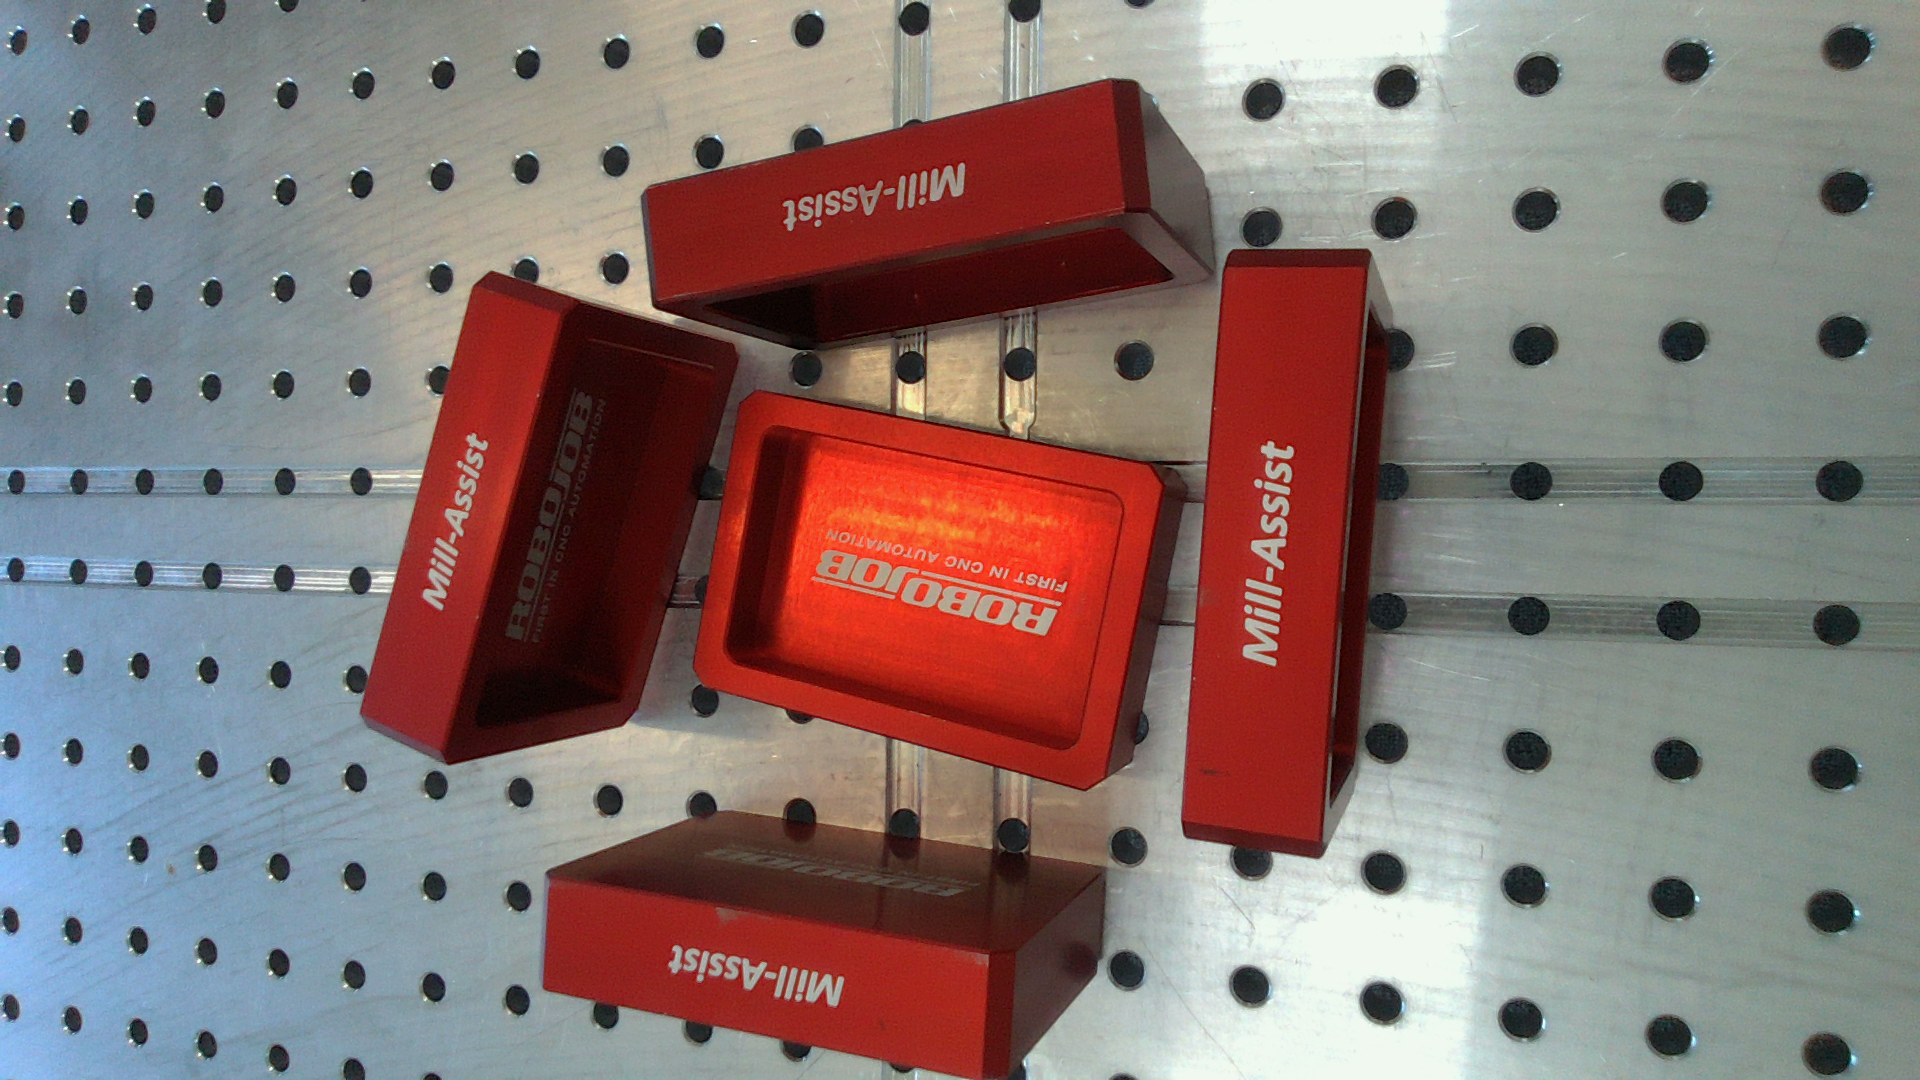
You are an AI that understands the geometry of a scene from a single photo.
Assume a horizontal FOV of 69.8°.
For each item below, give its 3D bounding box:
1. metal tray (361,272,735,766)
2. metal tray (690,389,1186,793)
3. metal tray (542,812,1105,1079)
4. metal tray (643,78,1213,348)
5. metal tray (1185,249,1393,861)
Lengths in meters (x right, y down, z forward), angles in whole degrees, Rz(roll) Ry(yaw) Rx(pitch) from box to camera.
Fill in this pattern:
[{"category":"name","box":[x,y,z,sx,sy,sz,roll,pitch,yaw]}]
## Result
[{"category":"metal tray","box":[-0.117,-0.005,0.406,0.030,0.090,0.130,19,96,19]},{"category":"metal tray","box":[-0.008,0.012,0.398,0.130,0.030,0.090,12,94,19]},{"category":"metal tray","box":[-0.034,0.105,0.377,0.130,0.090,0.030,4,92,20]},{"category":"metal tray","box":[-0.005,-0.081,0.365,0.130,0.090,0.030,-7,88,20]},{"category":"metal tray","box":[0.082,0.002,0.334,0.030,0.090,0.130,5,92,20]}]
